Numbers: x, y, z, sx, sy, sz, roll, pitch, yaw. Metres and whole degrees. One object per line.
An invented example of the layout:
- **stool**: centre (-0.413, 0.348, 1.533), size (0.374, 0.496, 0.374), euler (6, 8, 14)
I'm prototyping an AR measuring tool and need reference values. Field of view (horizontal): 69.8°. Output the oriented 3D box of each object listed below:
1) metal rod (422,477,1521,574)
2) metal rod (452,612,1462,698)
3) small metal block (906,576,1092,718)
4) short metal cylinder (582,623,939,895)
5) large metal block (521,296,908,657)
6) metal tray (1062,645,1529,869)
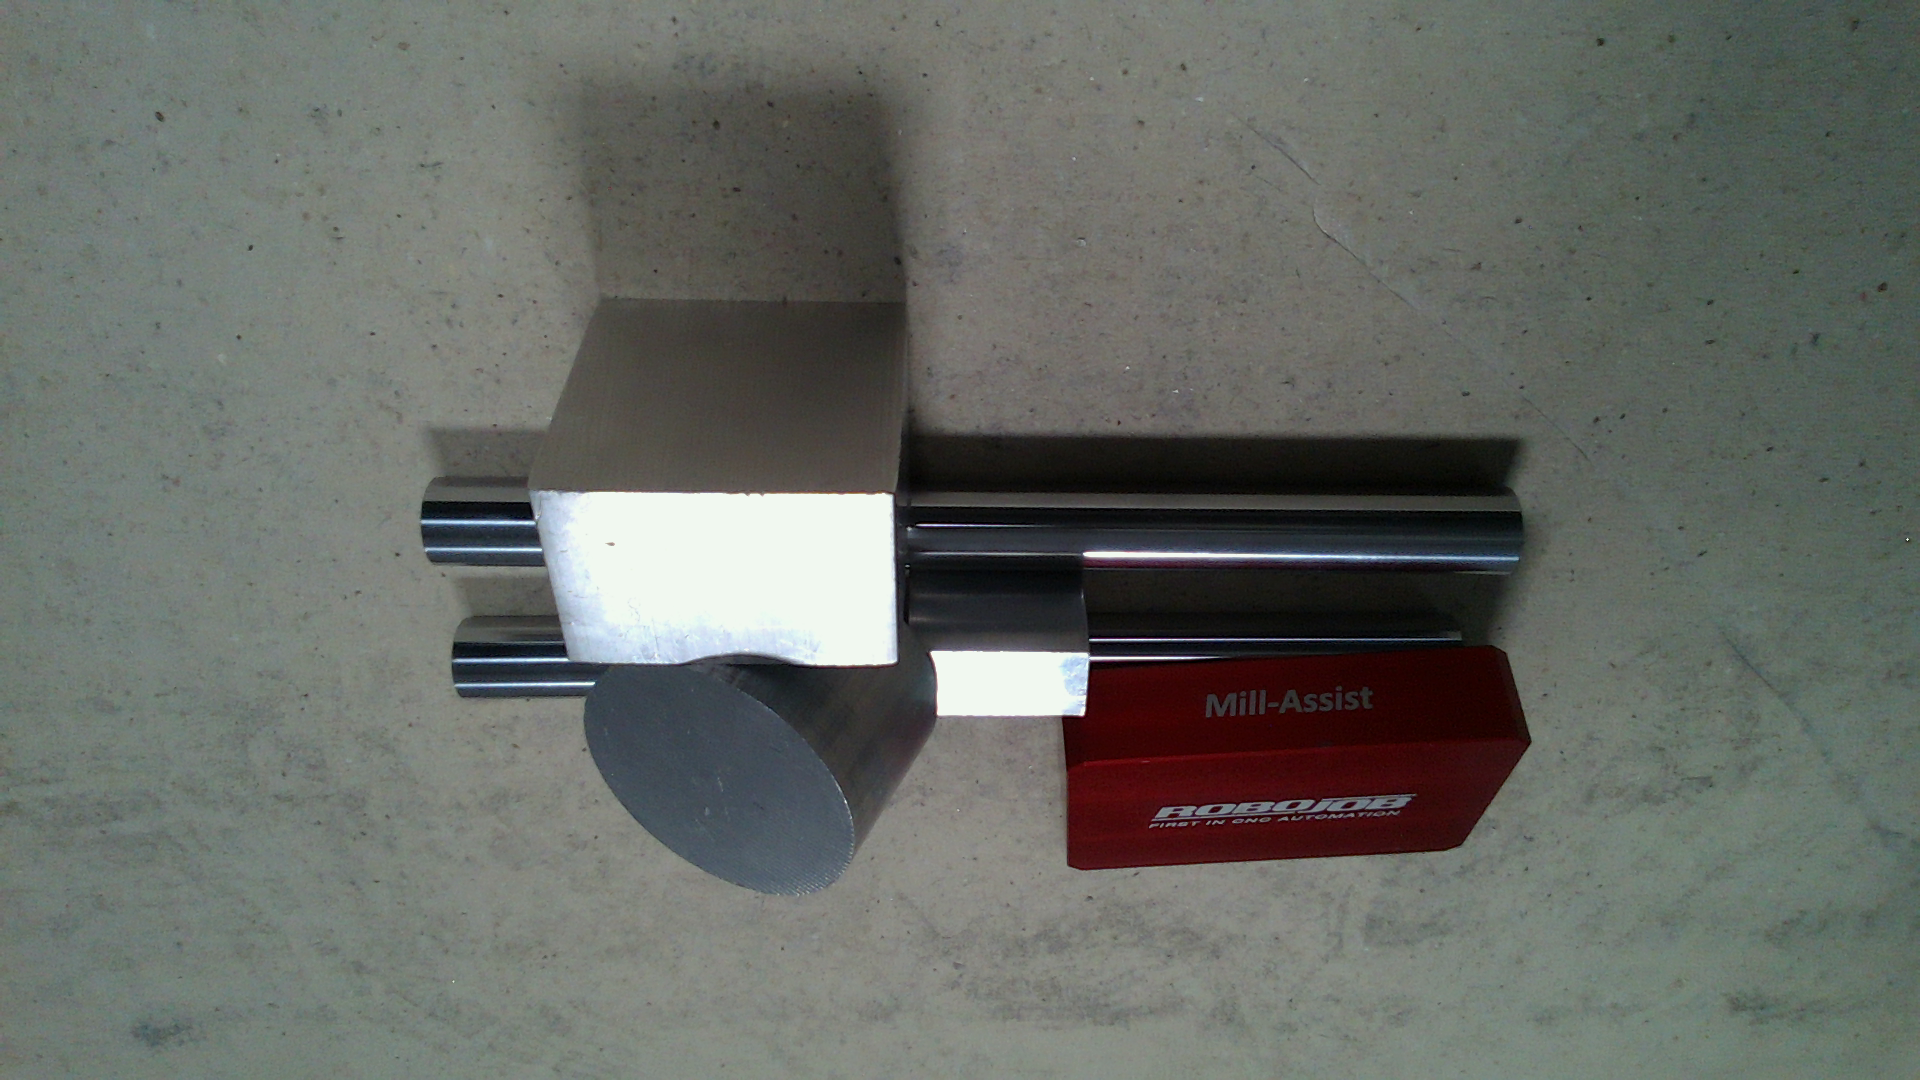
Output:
- **metal rod**: centre (0.004, -0.004, 0.388), size (0.300, 0.025, 0.025), euler (0, 130, -1)
- **metal rod**: centre (-0.001, 0.035, 0.421), size (0.300, 0.025, 0.025), euler (0, 130, 0)
- **small metal block**: centre (0.010, 0.024, 0.394), size (0.050, 0.050, 0.025), euler (1, 130, -1)
- **short metal cylinder**: centre (-0.052, 0.048, 0.368), size (0.080, 0.050, 0.080), euler (15, 131, 19)
- **large metal block**: centre (-0.054, -0.018, 0.340), size (0.080, 0.080, 0.050), euler (1, 130, -1)
- **metal tray**: centre (0.097, 0.070, 0.429), size (0.130, 0.030, 0.090), euler (-4, 148, 1)
